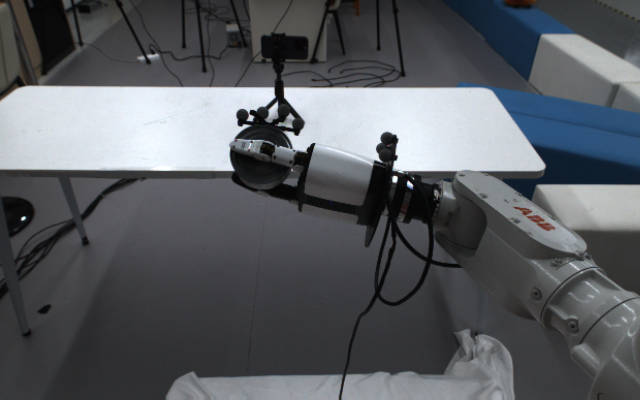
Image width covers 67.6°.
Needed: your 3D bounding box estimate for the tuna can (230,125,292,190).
[{"bbox_3d":[-0.080,-0.059,0.668,0.085,0.034,0.085,1,72,-2],"label":"tuna can"}]
